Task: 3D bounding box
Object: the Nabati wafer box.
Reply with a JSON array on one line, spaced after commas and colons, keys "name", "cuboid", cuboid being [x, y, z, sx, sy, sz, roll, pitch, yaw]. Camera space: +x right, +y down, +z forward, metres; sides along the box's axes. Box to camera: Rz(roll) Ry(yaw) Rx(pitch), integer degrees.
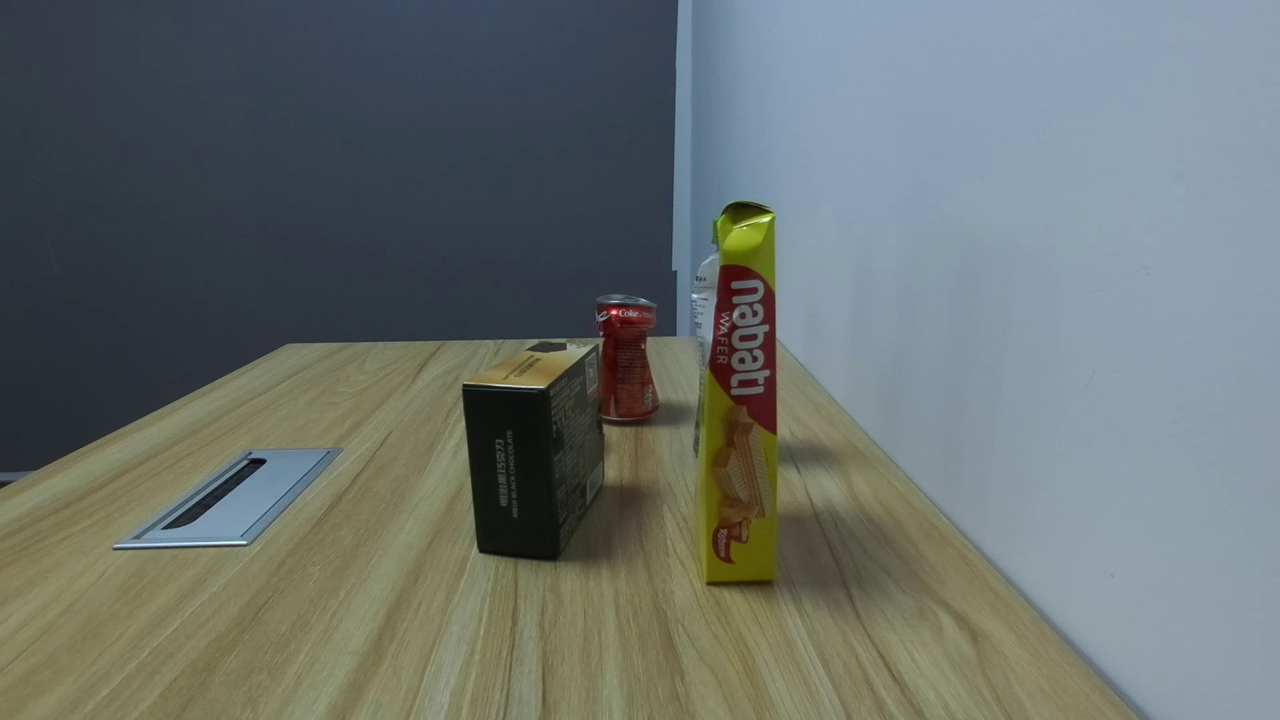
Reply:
[{"name": "Nabati wafer box", "cuboid": [0.055, 0.015, 0.404, 0.042, 0.205, 0.113, 1, 14, 0]}]
